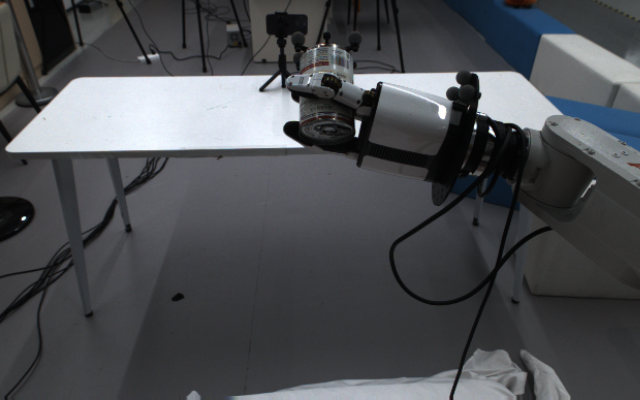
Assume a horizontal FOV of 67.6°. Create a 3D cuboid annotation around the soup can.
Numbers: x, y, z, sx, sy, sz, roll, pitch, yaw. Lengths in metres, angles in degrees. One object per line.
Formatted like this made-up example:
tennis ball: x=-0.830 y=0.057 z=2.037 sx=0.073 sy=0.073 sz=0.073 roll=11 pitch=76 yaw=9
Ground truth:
soup can: x=0.009 y=-0.126 z=0.581 sx=0.067 sy=0.067 sz=0.101 roll=1 pitch=73 yaw=-2
